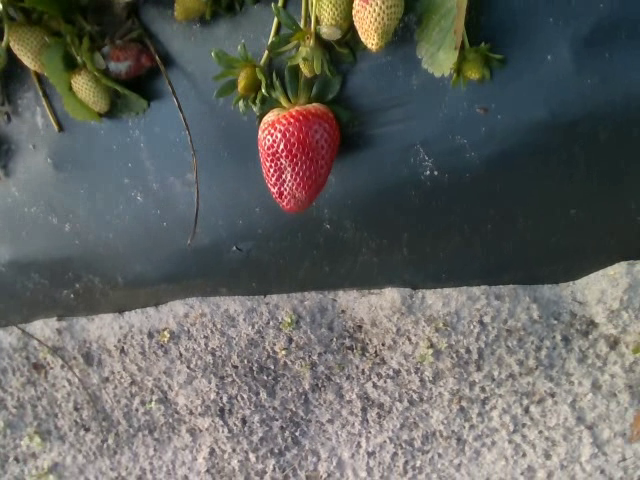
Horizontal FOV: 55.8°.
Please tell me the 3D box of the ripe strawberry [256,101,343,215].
[{"bbox_3d":[-0.015,-0.049,0.360,0.052,0.068,0.044,-6,-8,21],"label":"ripe strawberry"}]
